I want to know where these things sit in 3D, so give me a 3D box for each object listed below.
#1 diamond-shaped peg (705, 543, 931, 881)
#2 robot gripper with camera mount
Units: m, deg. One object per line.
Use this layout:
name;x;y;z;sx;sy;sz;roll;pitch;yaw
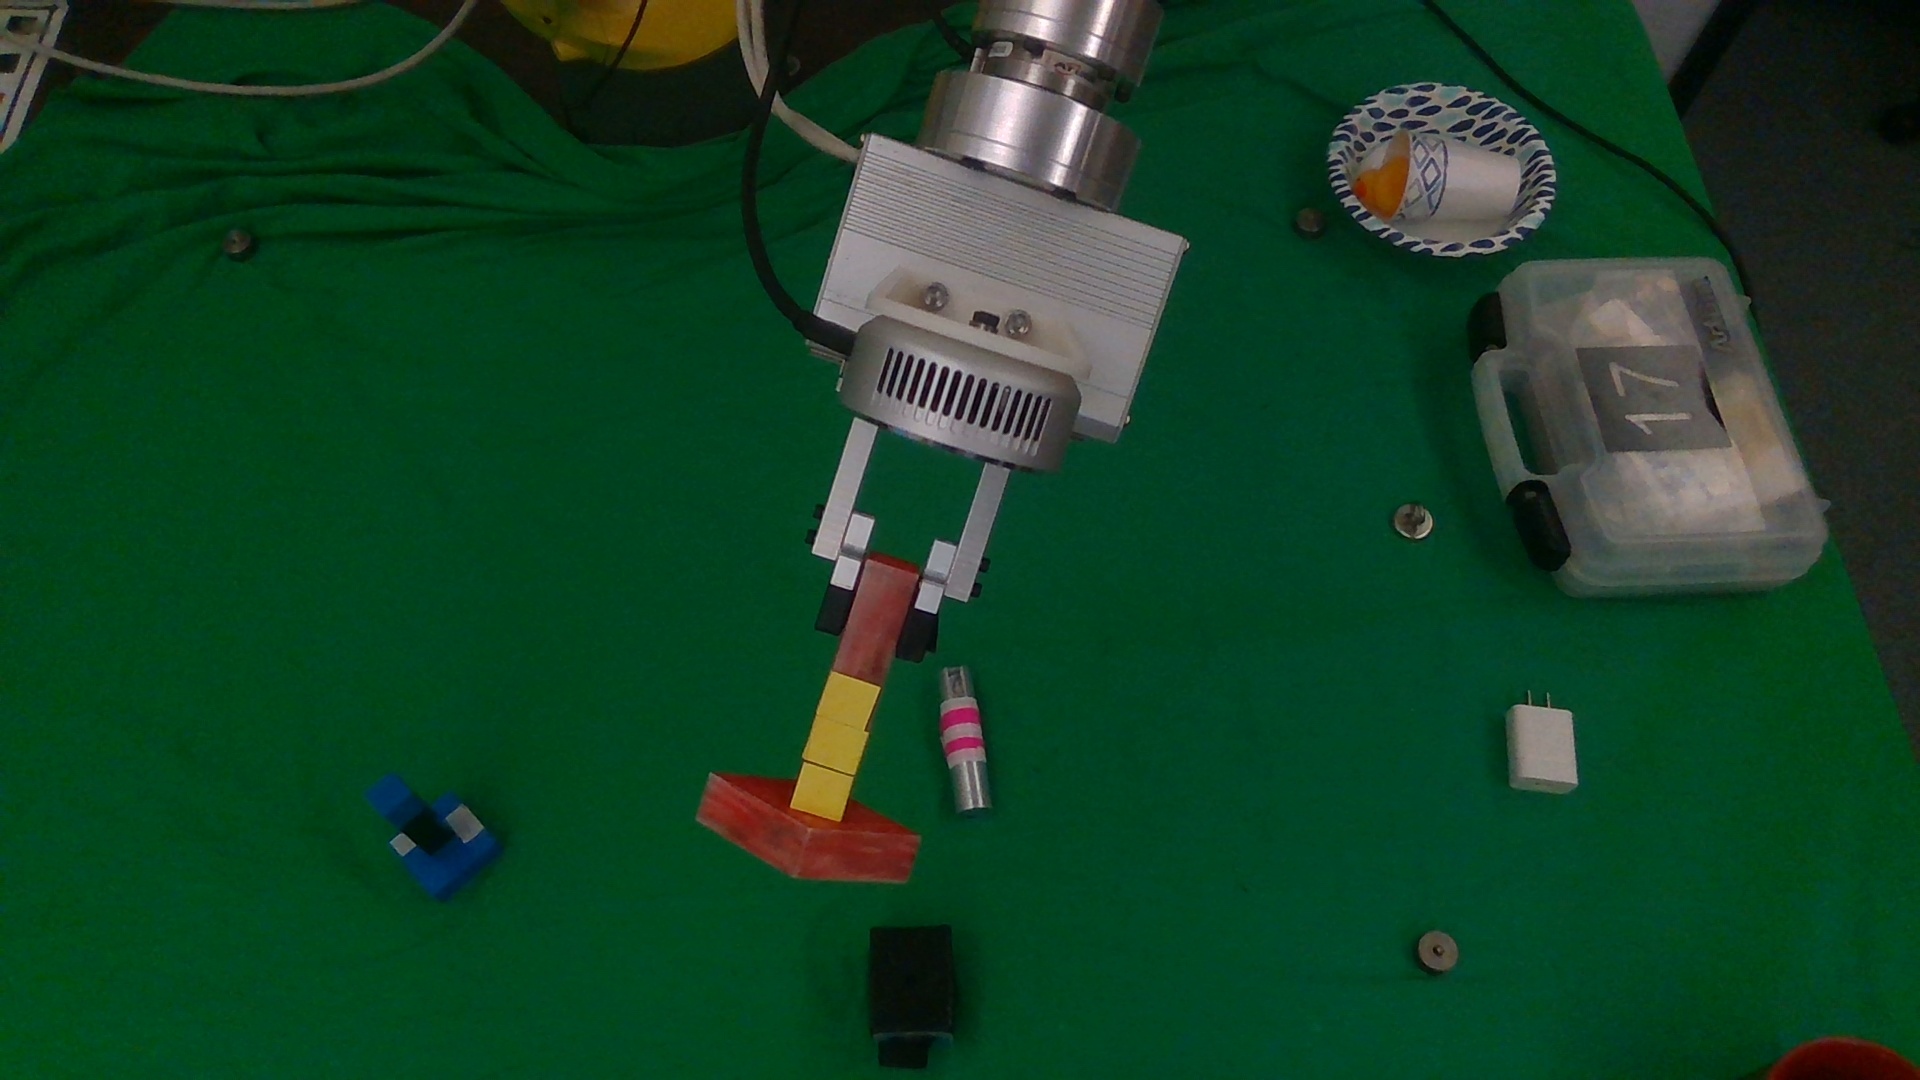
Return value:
diamond-shaped peg;-0.039;0.062;0.519;0.074;0.045;0.122;14;99;-29
robot gripper with camera mount;0.000;-0.021;0.425;0.119;0.193;0.158;17;102;-8
